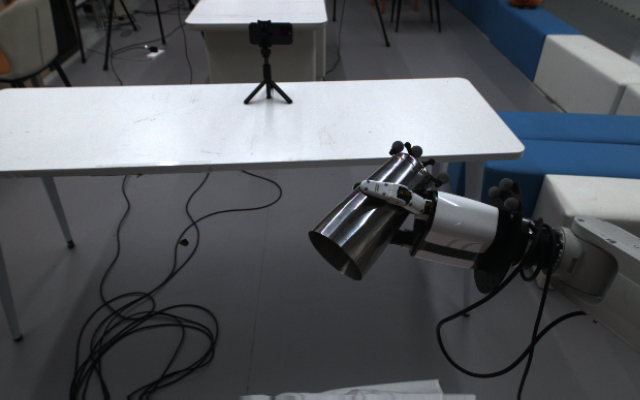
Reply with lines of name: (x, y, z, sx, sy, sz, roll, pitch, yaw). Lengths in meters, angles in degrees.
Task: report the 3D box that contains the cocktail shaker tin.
cocktail shaker tin: (0.075, 0.010, 0.654, 0.093, 0.093, 0.170, 32, 66, 35)
